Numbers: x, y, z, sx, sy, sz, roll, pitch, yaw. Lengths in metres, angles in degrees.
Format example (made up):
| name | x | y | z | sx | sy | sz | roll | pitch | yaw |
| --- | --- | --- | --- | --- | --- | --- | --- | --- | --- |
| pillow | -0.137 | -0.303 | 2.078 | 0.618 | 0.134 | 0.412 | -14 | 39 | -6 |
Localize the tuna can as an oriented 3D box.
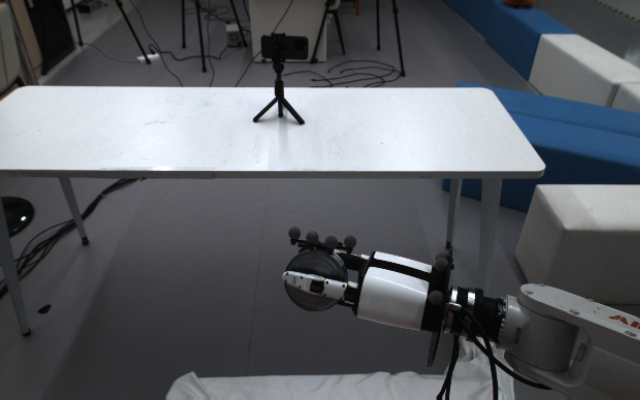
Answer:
| name | x | y | z | sx | sy | sz | roll | pitch | yaw |
| --- | --- | --- | --- | --- | --- | --- | --- | --- | --- |
| tuna can | -0.003 | 0.109 | 0.672 | 0.085 | 0.085 | 0.034 | 11 | 2 | 13 |
